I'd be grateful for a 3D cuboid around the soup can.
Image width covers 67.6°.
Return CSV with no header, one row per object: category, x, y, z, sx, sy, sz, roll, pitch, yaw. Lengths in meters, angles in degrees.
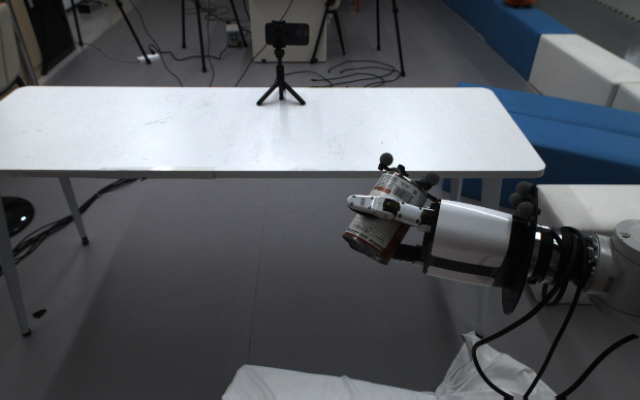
soup can,0.084,0.021,0.619,0.067,0.067,0.101,27,78,32
